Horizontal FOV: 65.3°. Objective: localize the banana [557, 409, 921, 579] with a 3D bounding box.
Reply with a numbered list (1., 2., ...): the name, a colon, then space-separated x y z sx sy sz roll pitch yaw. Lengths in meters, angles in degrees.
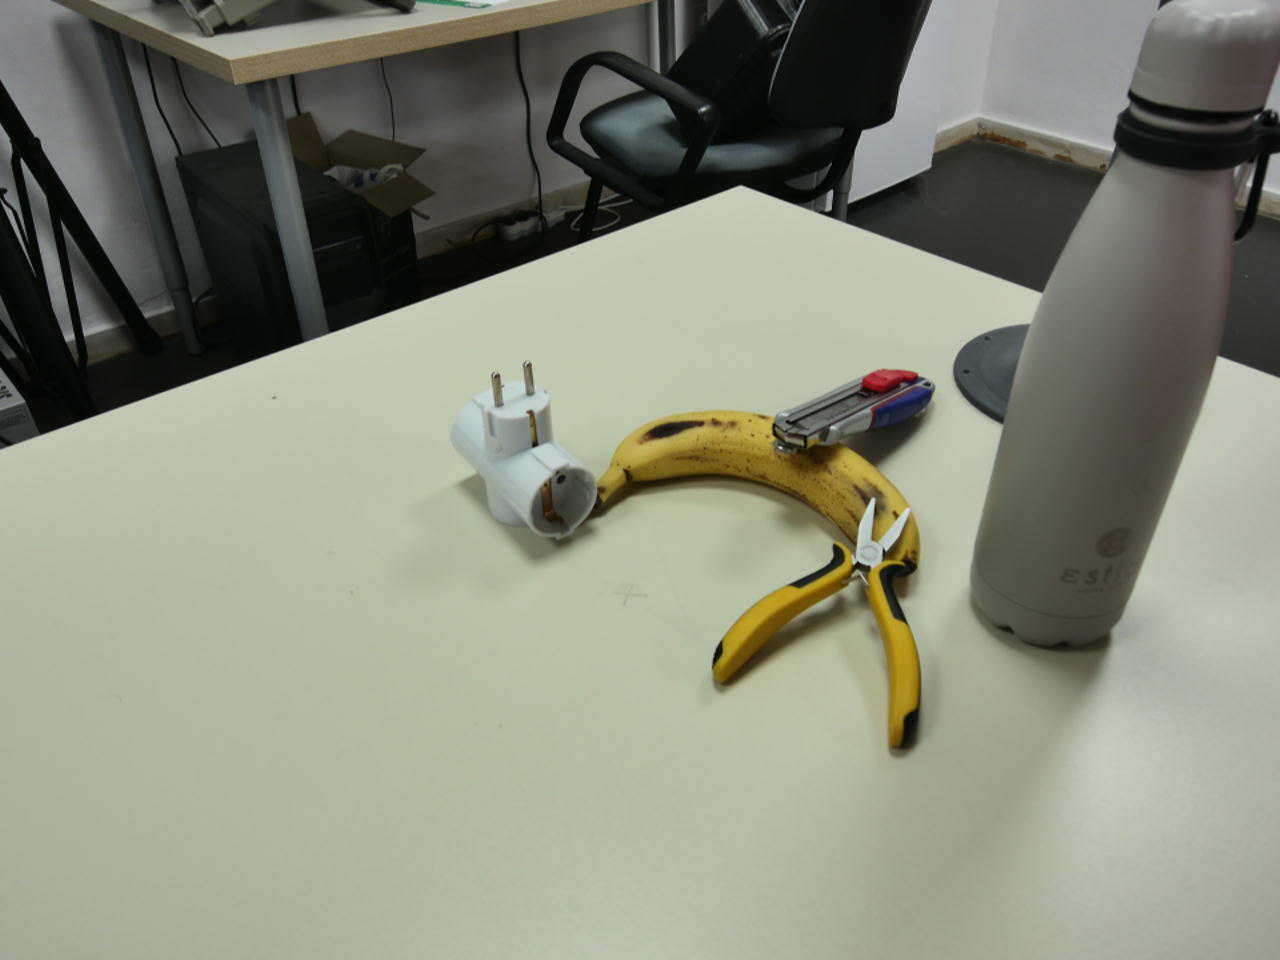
1. banana: 0.064 0.000 0.548 0.186 0.038 0.097 13 38 19
